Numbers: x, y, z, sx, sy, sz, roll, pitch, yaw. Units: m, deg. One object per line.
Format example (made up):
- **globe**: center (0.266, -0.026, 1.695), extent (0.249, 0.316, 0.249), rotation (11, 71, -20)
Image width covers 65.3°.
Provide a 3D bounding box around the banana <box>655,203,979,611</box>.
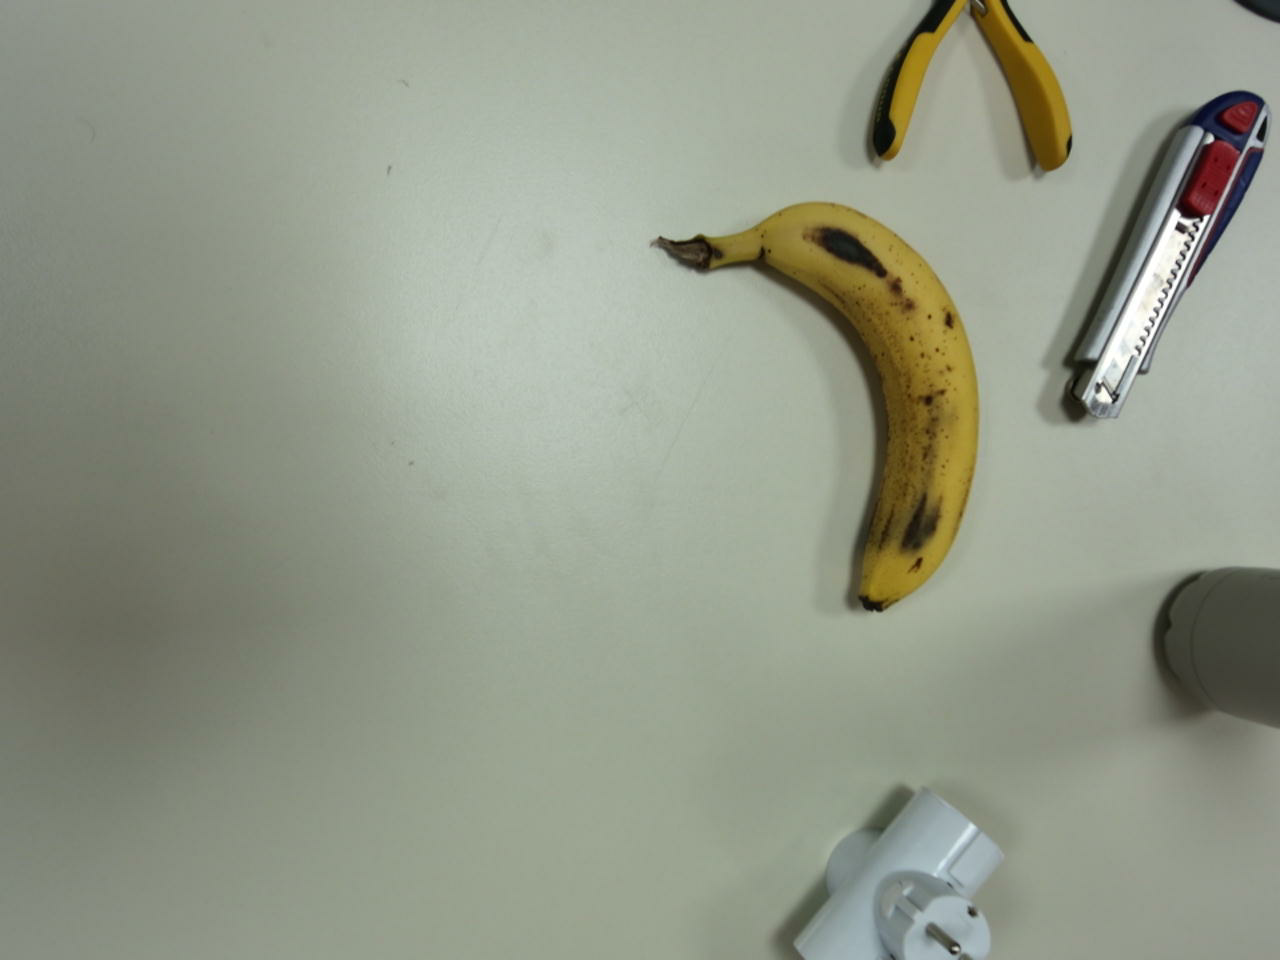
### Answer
- **banana**: center (0.100, -0.043, 0.440), extent (0.097, 0.038, 0.186), rotation (-29, 95, -10)
